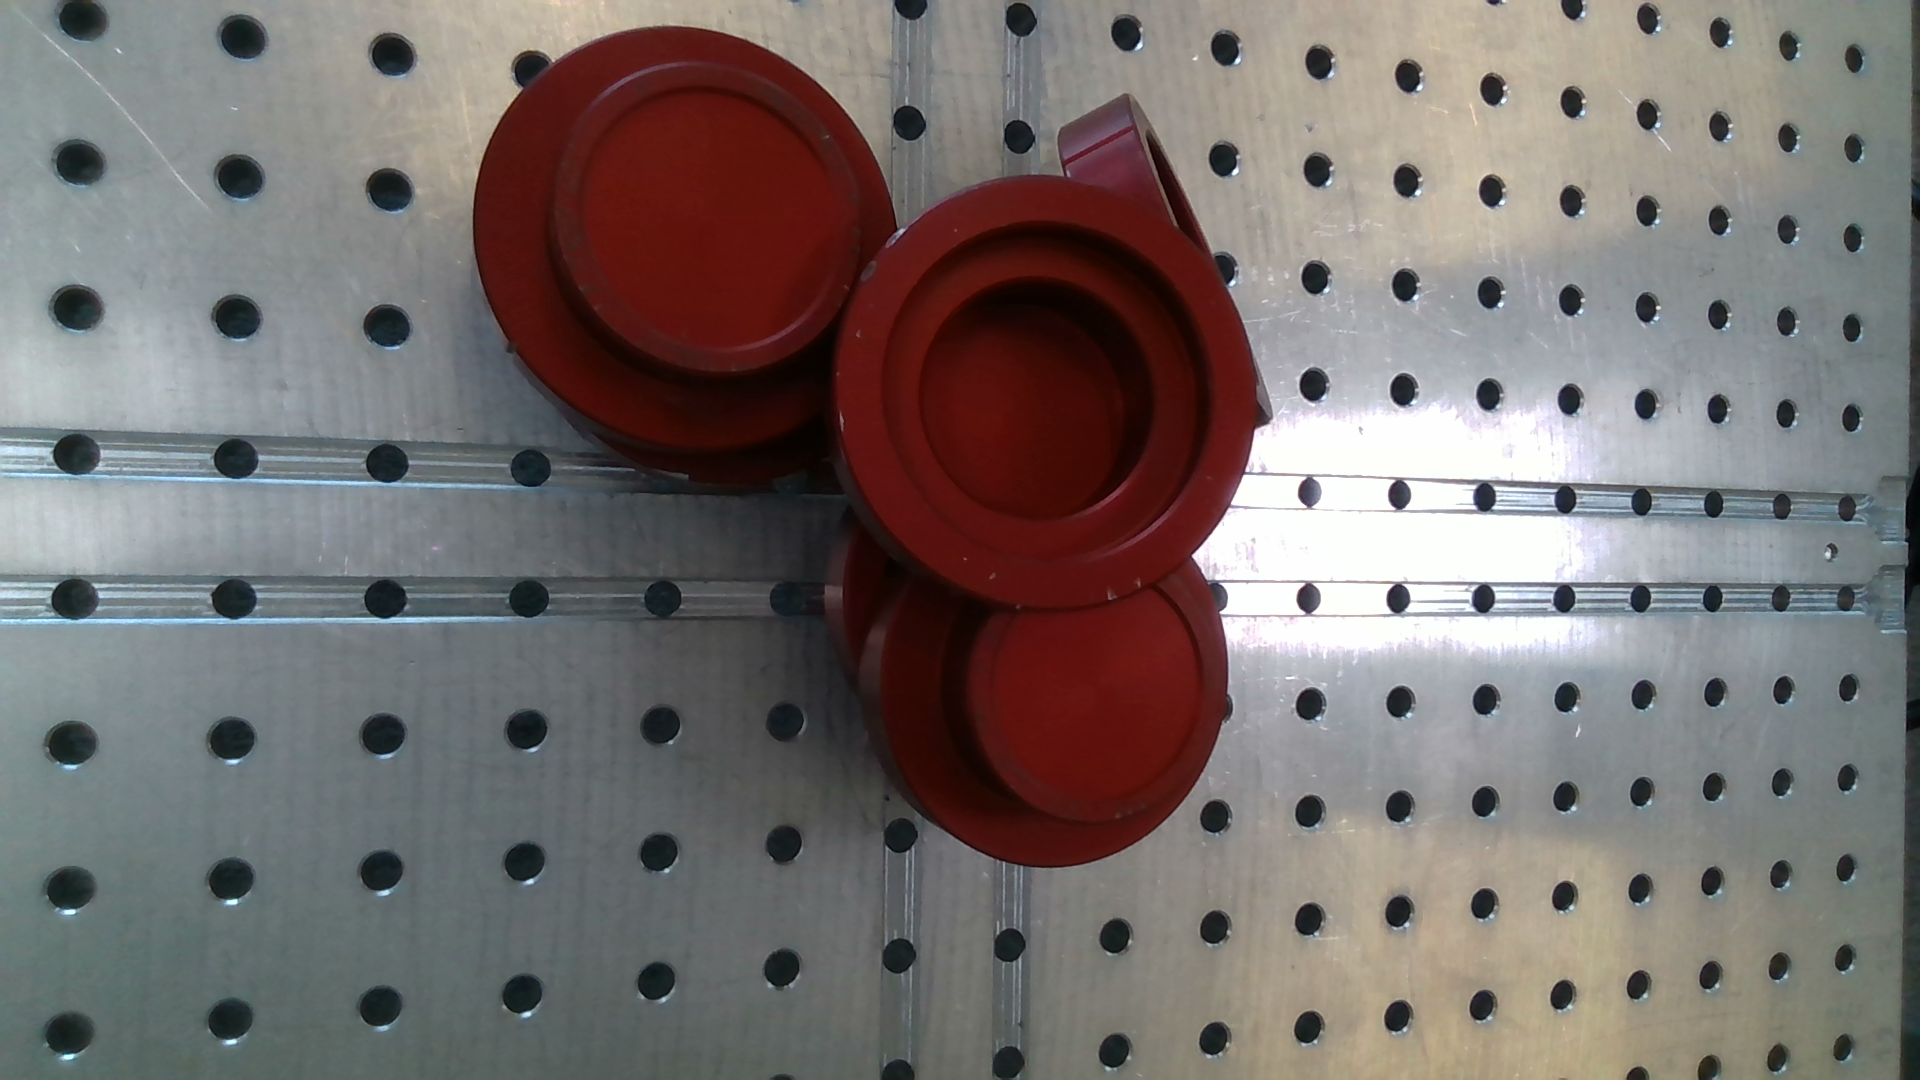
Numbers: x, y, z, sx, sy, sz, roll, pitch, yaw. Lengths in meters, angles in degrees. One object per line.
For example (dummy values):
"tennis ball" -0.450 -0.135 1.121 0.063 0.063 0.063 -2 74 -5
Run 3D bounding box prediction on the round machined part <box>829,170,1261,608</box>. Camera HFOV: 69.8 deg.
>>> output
"round machined part" 0.017 -0.033 0.325 0.098 0.042 0.098 1 87 -12

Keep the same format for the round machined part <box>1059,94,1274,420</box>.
"round machined part" 0.049 -0.070 0.385 0.042 0.098 0.098 -23 100 17

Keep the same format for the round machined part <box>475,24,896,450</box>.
"round machined part" -0.061 -0.071 0.320 0.098 0.042 0.098 0 90 -20

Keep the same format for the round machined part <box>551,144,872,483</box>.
"round machined part" -0.059 -0.063 0.343 0.098 0.042 0.098 0 90 -20

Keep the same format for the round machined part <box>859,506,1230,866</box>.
"round machined part" 0.027 0.034 0.352 0.098 0.042 0.098 0 90 -21

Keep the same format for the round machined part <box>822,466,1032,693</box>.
"round machined part" 0.015 0.013 0.371 0.098 0.042 0.098 0 90 -20
